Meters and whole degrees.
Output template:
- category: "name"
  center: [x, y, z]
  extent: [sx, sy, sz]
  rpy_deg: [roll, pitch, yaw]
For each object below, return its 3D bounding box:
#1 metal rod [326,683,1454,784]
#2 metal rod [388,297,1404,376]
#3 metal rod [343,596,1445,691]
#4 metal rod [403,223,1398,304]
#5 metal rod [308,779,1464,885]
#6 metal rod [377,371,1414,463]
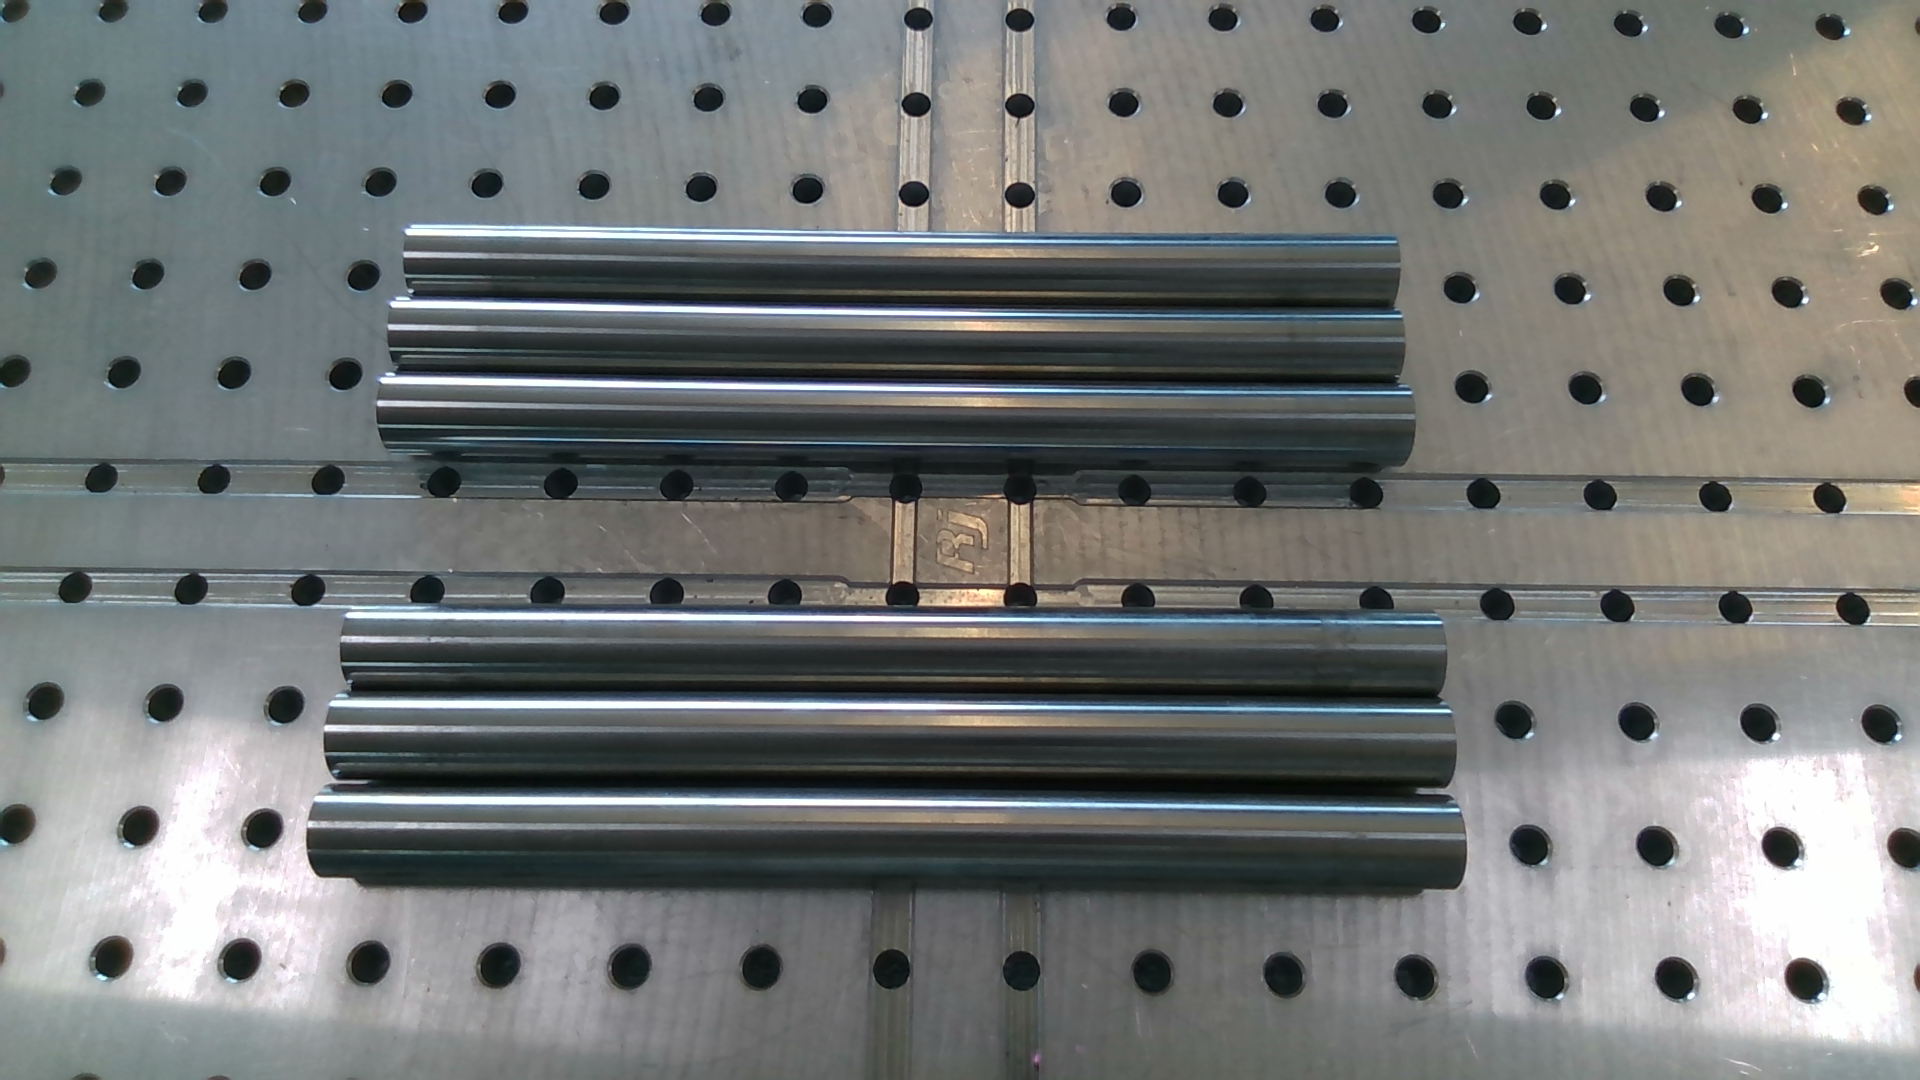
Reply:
- category: "metal rod"
  center: [-0.019, 0.053, 0.379]
  extent: [0.300, 0.025, 0.025]
  rpy_deg: [1, 70, 0]
- category: "metal rod"
  center: [-0.019, -0.060, 0.419]
  extent: [0.300, 0.025, 0.025]
  rpy_deg: [1, 70, 0]
- category: "metal rod"
  center: [-0.018, 0.030, 0.387]
  extent: [0.300, 0.025, 0.025]
  rpy_deg: [1, 70, 0]
- category: "metal rod"
  center: [-0.018, -0.084, 0.427]
  extent: [0.300, 0.025, 0.025]
  rpy_deg: [1, 70, 0]
- category: "metal rod"
  center: [-0.020, 0.078, 0.370]
  extent: [0.300, 0.025, 0.025]
  rpy_deg: [1, 70, 0]
- category: "metal rod"
  center: [-0.019, -0.037, 0.410]
  extent: [0.300, 0.025, 0.025]
  rpy_deg: [1, 70, 0]
